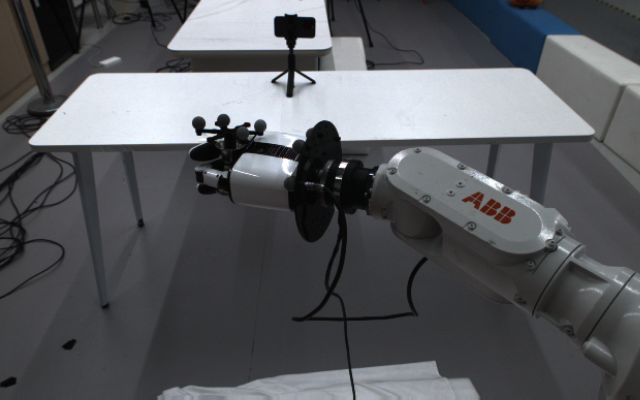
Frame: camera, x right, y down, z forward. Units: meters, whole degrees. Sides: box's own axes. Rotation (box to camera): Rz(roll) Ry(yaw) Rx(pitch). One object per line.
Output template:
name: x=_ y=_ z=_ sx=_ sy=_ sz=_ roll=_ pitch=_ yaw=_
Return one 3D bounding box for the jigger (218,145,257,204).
jigger: x=-0.119 y=-0.045 z=0.673 sx=0.043 sy=0.071 sz=0.043 roll=3 pitch=25 yaw=-1
